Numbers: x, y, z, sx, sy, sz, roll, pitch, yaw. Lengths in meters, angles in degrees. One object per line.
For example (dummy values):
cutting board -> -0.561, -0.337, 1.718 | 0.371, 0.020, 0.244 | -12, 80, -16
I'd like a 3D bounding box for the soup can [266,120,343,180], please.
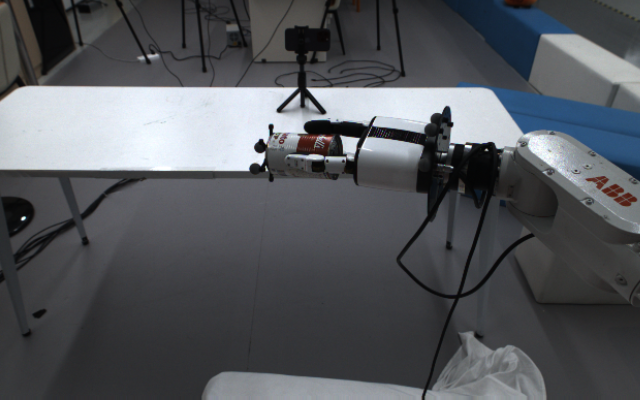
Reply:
soup can -> -0.022, -0.066, 0.730 | 0.101, 0.067, 0.067 | 5, 34, 18
